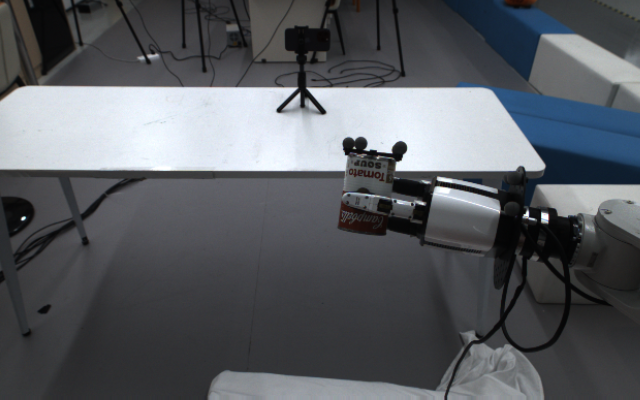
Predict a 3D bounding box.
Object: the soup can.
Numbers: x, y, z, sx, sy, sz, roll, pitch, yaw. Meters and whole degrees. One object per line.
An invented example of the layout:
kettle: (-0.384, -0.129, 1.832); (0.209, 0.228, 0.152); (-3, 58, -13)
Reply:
soup can: (0.065, -0.009, 0.655); (0.067, 0.101, 0.067); (7, 4, 0)
